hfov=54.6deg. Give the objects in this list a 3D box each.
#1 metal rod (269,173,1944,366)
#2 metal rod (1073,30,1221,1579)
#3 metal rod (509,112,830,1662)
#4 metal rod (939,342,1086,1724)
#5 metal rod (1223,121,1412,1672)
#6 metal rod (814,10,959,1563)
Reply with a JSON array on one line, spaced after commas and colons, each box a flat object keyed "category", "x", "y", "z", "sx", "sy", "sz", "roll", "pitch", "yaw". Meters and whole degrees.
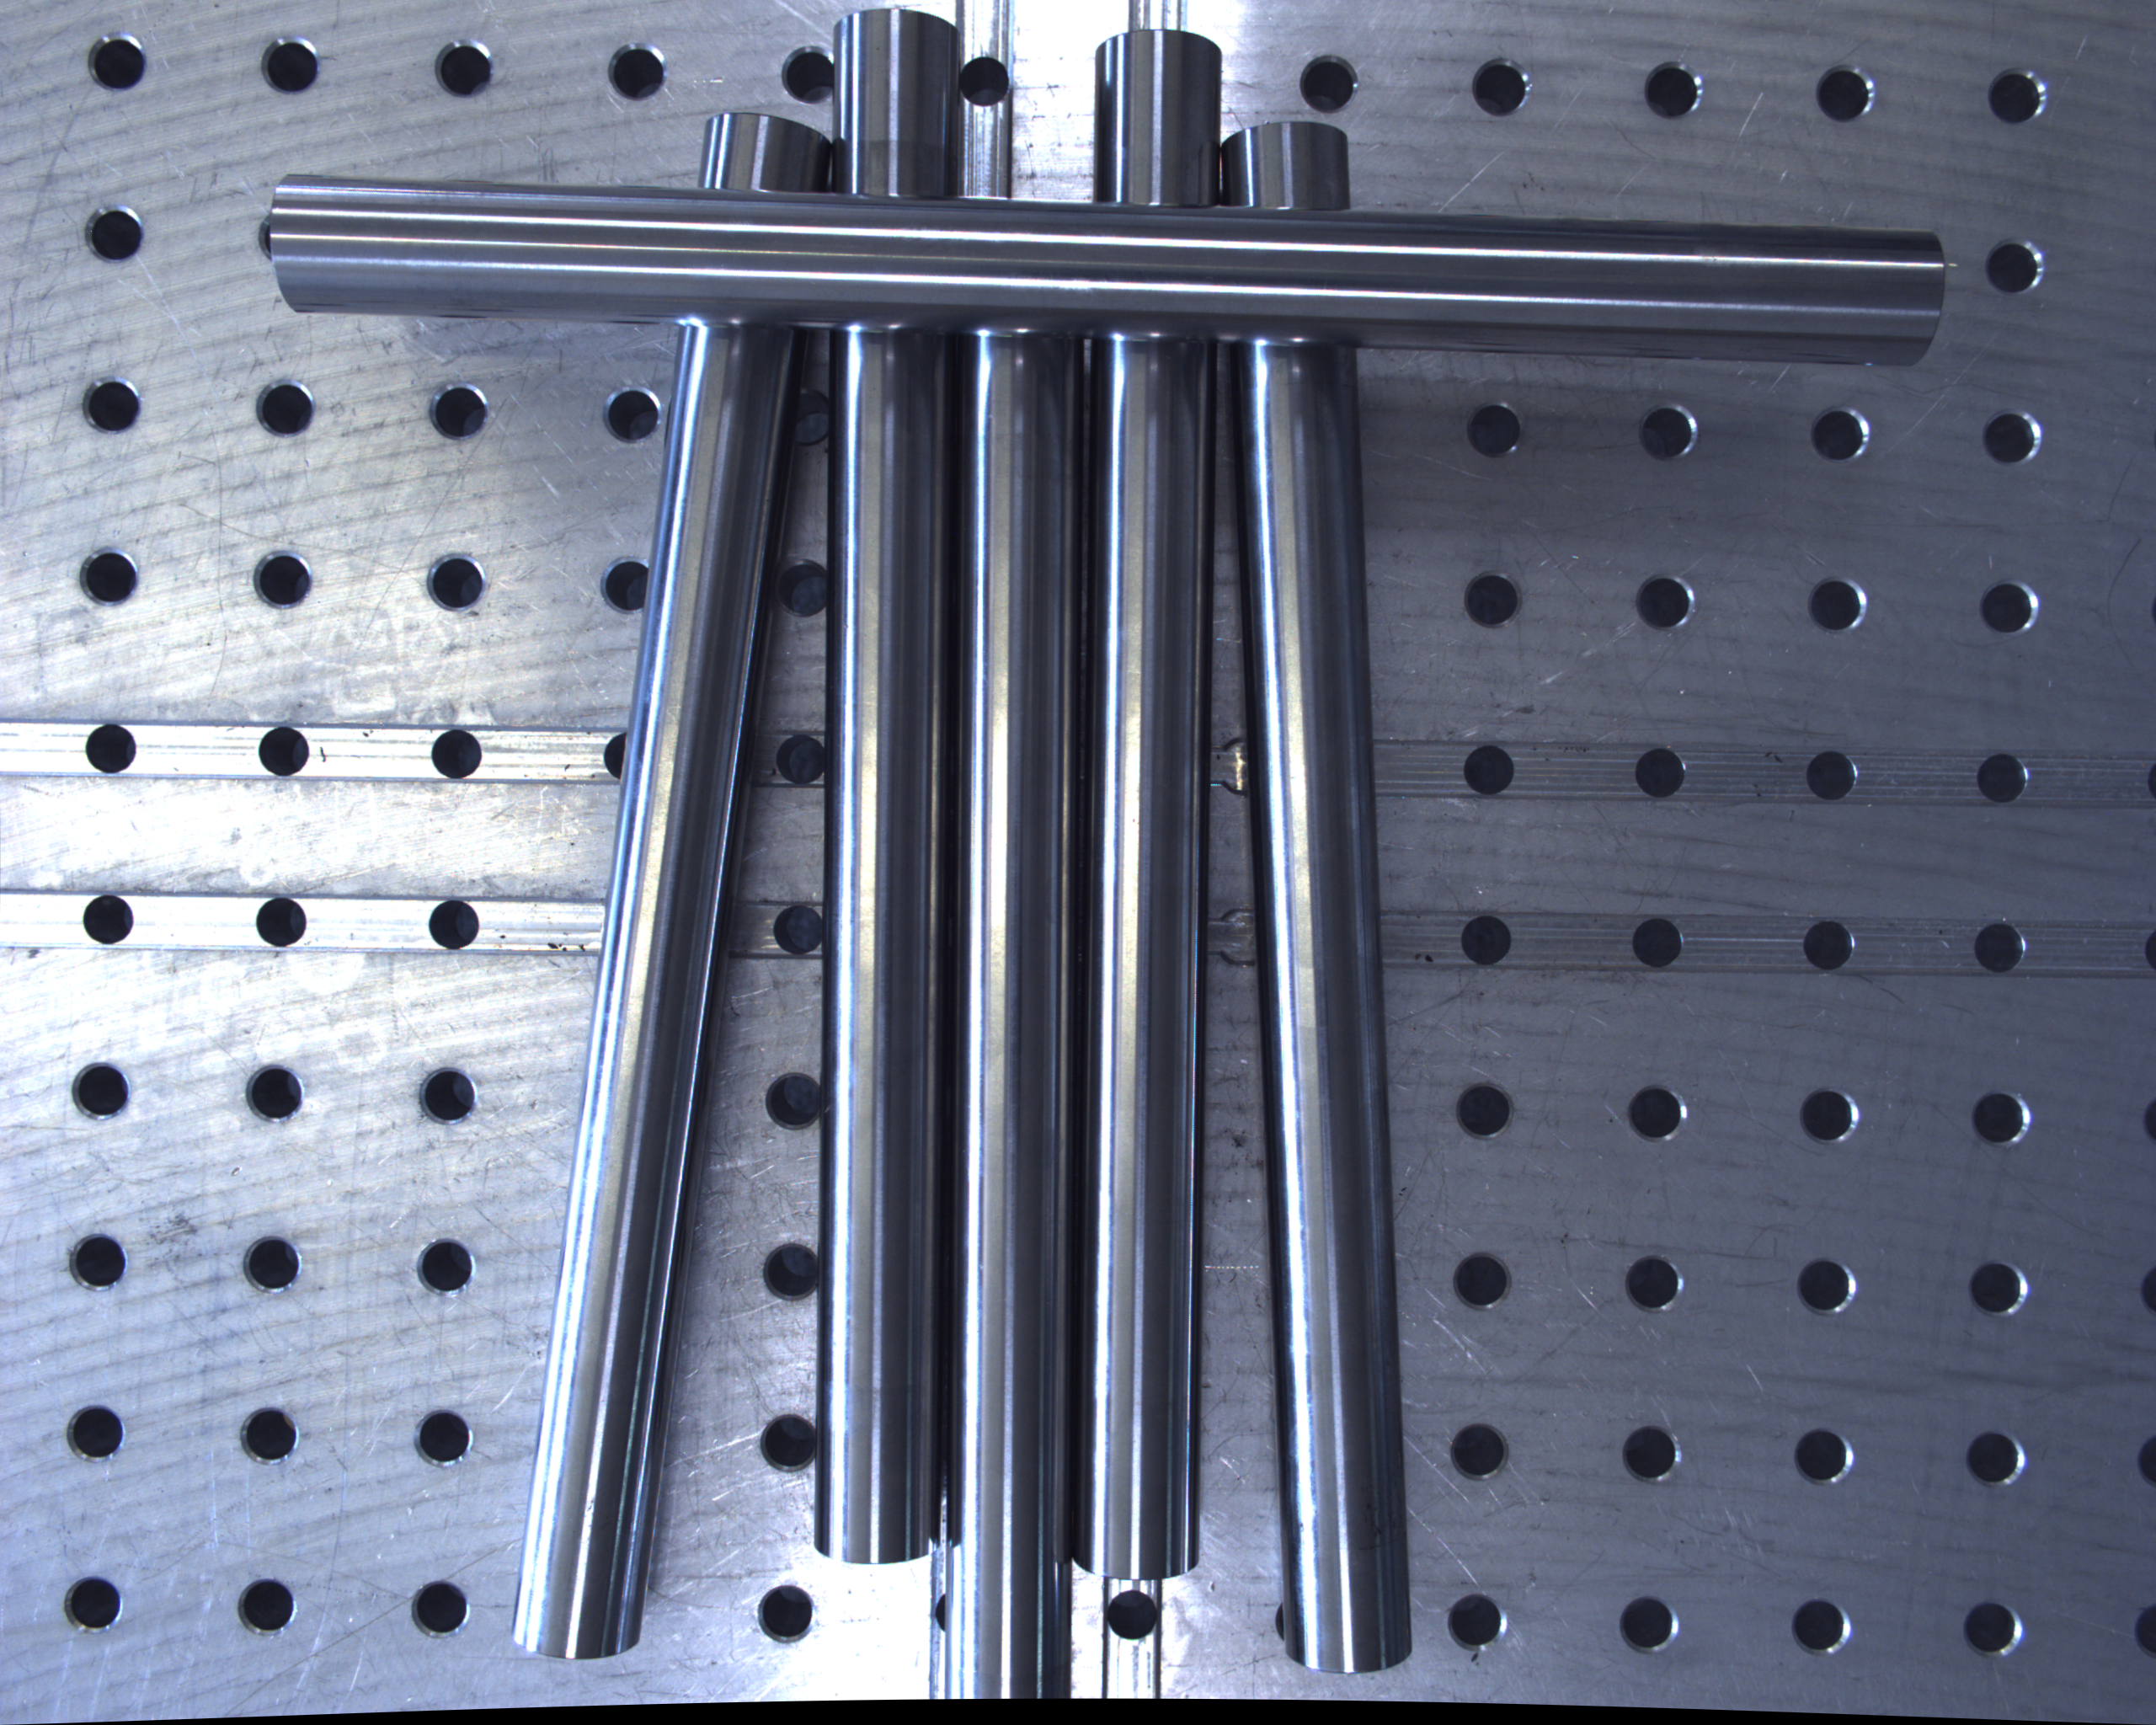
[{"category": "metal rod", "x": 0.006, "y": -0.110, "z": 0.388, "sx": 0.302, "sy": 0.025, "sz": 0.025, "roll": 2, "pitch": 90, "yaw": 0}, {"category": "metal rod", "x": 0.014, "y": -0.011, "z": 0.415, "sx": 0.025, "sy": 0.025, "sz": 0.298, "roll": 1, "pitch": 90, "yaw": 0}, {"category": "metal rod", "x": -0.080, "y": 0.005, "z": 0.412, "sx": 0.025, "sy": 0.025, "sz": 0.298, "roll": 7, "pitch": 90, "yaw": 0}, {"category": "metal rod", "x": -0.013, "y": 0.041, "z": 0.413, "sx": 0.025, "sy": 0.025, "sz": 0.298, "roll": 1, "pitch": 90, "yaw": 0}, {"category": "metal rod", "x": 0.047, "y": 0.007, "z": 0.414, "sx": 0.025, "sy": 0.025, "sz": 0.298, "roll": -2, "pitch": 90, "yaw": 0}, {"category": "metal rod", "x": -0.038, "y": -0.015, "z": 0.413, "sx": 0.025, "sy": 0.025, "sz": 0.298, "roll": 1, "pitch": 90, "yaw": 0}]
